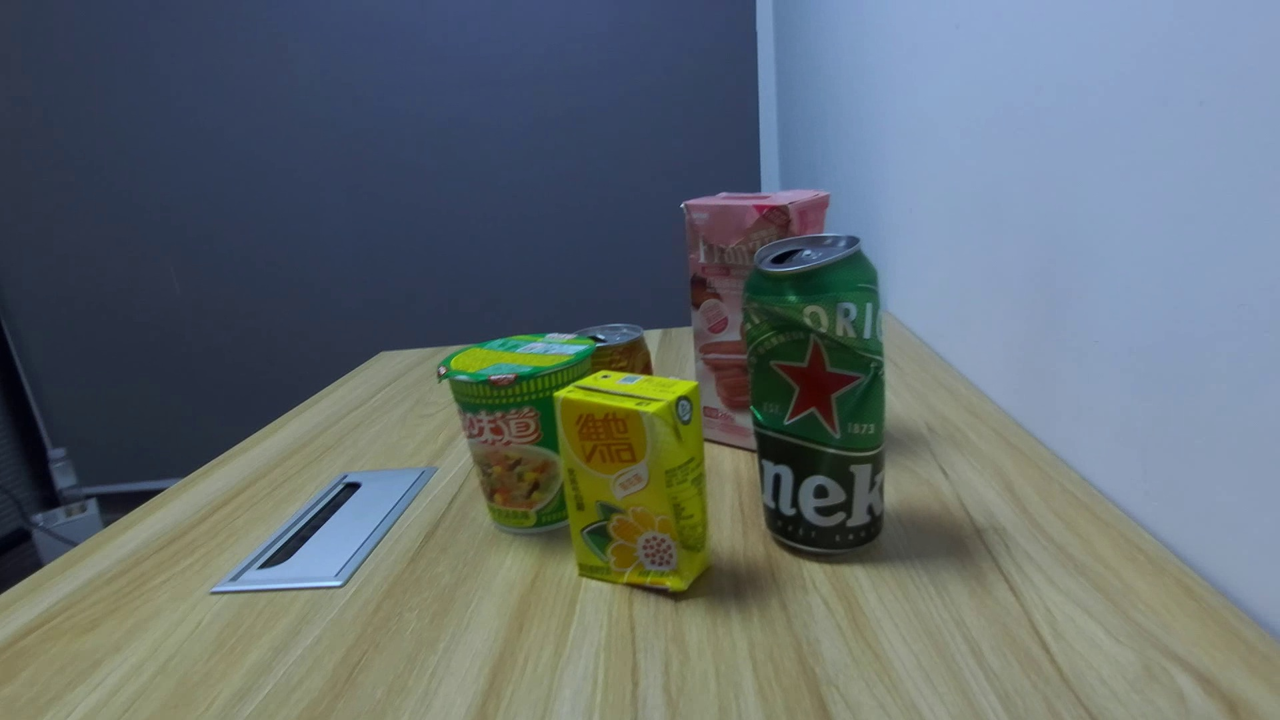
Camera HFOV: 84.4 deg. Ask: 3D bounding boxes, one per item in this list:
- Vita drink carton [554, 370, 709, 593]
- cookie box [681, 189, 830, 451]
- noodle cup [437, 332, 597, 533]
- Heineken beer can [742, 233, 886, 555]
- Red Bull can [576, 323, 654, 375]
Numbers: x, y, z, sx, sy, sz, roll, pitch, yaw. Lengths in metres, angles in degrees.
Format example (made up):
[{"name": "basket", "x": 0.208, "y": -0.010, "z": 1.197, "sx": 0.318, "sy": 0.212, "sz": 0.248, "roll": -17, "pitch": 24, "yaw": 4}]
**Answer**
[{"name": "Vita drink carton", "x": 0.001, "y": 0.065, "z": 0.373, "sx": 0.076, "sy": 0.109, "sz": 0.043, "roll": 7, "pitch": 21, "yaw": 35}, {"name": "cookie box", "x": 0.086, "y": -0.024, "z": 0.510, "sx": 0.104, "sy": 0.186, "sz": 0.060, "roll": 9, "pitch": 21, "yaw": 41}, {"name": "noodle cup", "x": -0.071, "y": 0.047, "z": 0.460, "sx": 0.097, "sy": 0.110, "sz": 0.097, "roll": -5, "pitch": 17, "yaw": 2}, {"name": "Heineken beer can", "x": 0.096, "y": 0.022, "z": 0.383, "sx": 0.069, "sy": 0.168, "sz": 0.068, "roll": -7, "pitch": 18, "yaw": 5}, {"name": "Red Bull can", "x": -0.022, "y": 0.023, "z": 0.558, "sx": 0.068, "sy": 0.093, "sz": 0.068, "roll": -6, "pitch": 17, "yaw": 2}]
